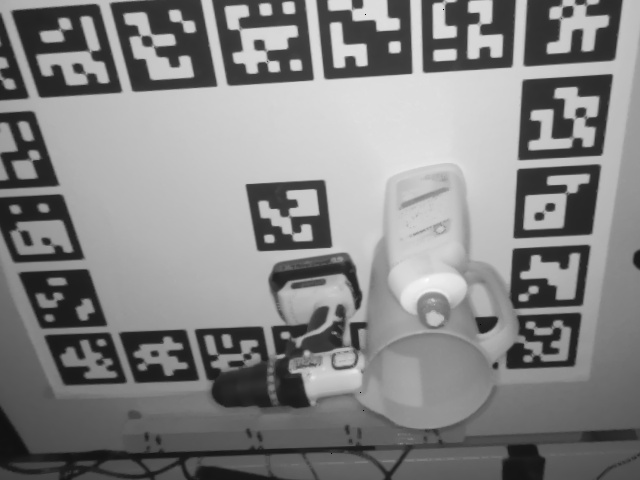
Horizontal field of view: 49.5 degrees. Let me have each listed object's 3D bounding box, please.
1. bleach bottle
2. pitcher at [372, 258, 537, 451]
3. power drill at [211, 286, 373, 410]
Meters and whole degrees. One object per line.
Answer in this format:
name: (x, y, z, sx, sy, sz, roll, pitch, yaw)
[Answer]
bleach bottle: (0.143, 0.028, 0.736, 0.102, 0.253, 0.067, -10, 118, 8)
pitcher: (0.144, 0.107, 0.802, 0.187, 0.244, 0.133, -28, 112, 17)
power drill: (-0.021, 0.128, 0.831, 0.183, 0.189, 0.057, -5, 116, 12)
